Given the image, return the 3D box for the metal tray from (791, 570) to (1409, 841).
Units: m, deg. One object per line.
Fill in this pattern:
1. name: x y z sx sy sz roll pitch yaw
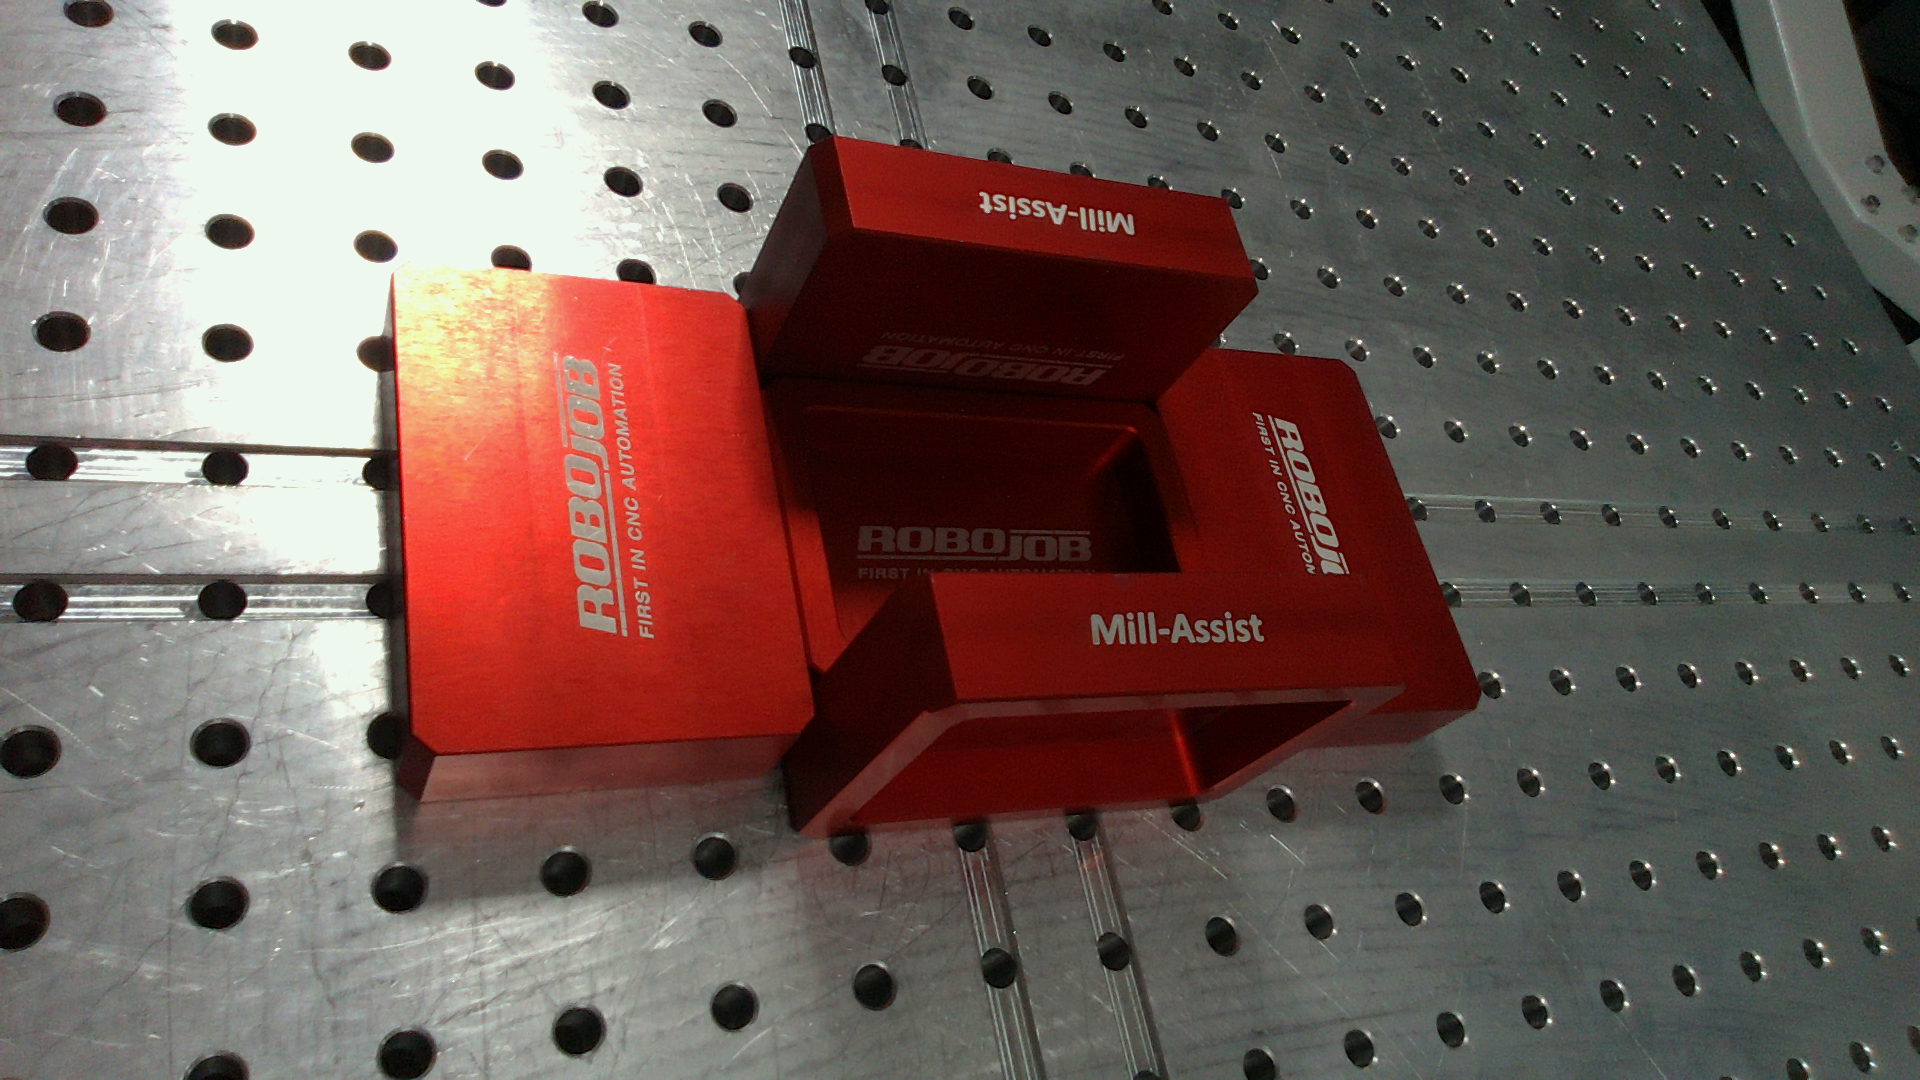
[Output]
1. metal tray: 0.032 0.041 0.341 0.130 0.090 0.030 1 61 -28

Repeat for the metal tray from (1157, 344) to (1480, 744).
1. metal tray: 0.104 -0.001 0.443 0.090 0.030 0.130 2 61 -28

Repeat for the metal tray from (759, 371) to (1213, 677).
1. metal tray: 0.008 0.002 0.390 0.130 0.030 0.090 1 61 -28

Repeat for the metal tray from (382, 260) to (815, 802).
1. metal tray: -0.093 -0.005 0.342 0.090 0.030 0.130 1 61 -28

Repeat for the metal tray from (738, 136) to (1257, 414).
1. metal tray: 0.007 -0.064 0.394 0.130 0.090 0.030 1 61 -28
